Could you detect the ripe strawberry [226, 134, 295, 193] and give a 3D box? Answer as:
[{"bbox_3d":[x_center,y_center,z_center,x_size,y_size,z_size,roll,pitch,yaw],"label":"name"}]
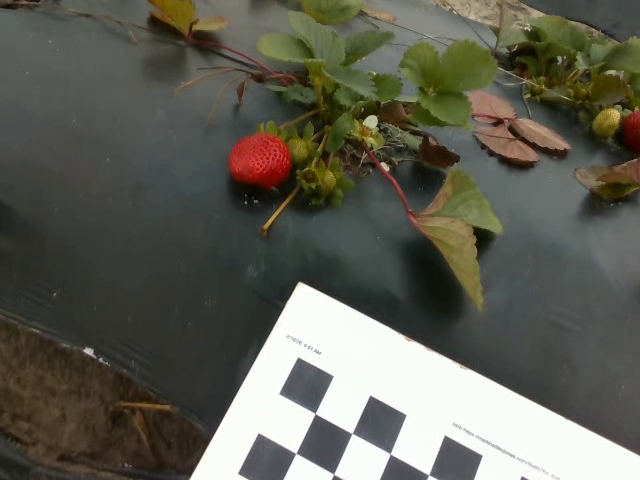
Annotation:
[{"bbox_3d":[-0.013,-0.015,0.117,0.018,0.014,0.017,35,29,1],"label":"ripe strawberry"}]
